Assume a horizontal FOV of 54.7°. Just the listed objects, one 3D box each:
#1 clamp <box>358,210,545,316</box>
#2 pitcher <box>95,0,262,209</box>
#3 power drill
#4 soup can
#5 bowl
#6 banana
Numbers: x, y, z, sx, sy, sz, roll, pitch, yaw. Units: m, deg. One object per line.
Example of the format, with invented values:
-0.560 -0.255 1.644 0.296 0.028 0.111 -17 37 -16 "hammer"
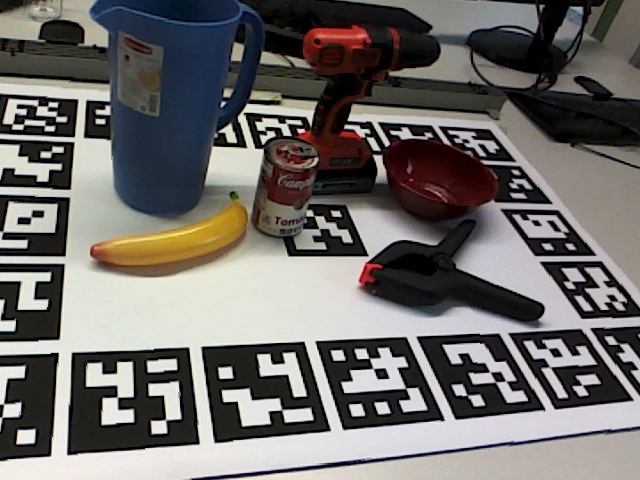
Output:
0.140 0.027 0.720 0.202 0.036 0.166 -2 46 -21 "clamp"
-0.157 -0.163 0.695 0.188 0.242 0.134 -20 48 -36 "pitcher"
0.057 -0.181 0.803 0.183 0.187 0.058 -4 43 -23 "power drill"
-0.043 -0.069 0.734 0.068 0.102 0.068 8 31 -5 "soup can"
0.156 -0.081 0.850 0.161 0.055 0.162 9 41 -8 "bowl"
-0.154 -0.011 0.679 0.196 0.039 0.075 -20 43 -38 "banana"
